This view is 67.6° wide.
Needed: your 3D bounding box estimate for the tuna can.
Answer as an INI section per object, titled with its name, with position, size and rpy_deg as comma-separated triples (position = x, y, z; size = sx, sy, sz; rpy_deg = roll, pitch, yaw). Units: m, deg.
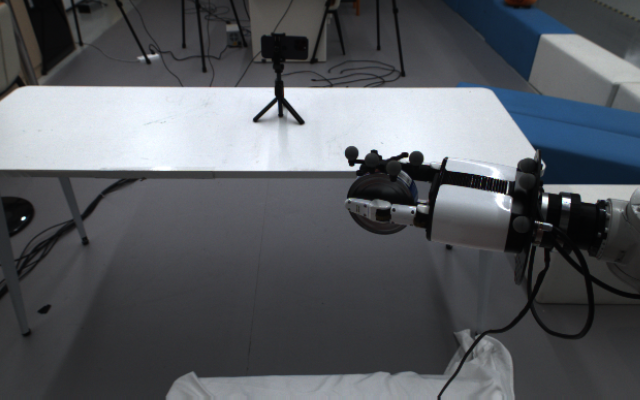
[tuna can]
position = 0.081, -0.004, 0.612
size = 0.085, 0.085, 0.034
rpy_deg = 13, 29, 16
